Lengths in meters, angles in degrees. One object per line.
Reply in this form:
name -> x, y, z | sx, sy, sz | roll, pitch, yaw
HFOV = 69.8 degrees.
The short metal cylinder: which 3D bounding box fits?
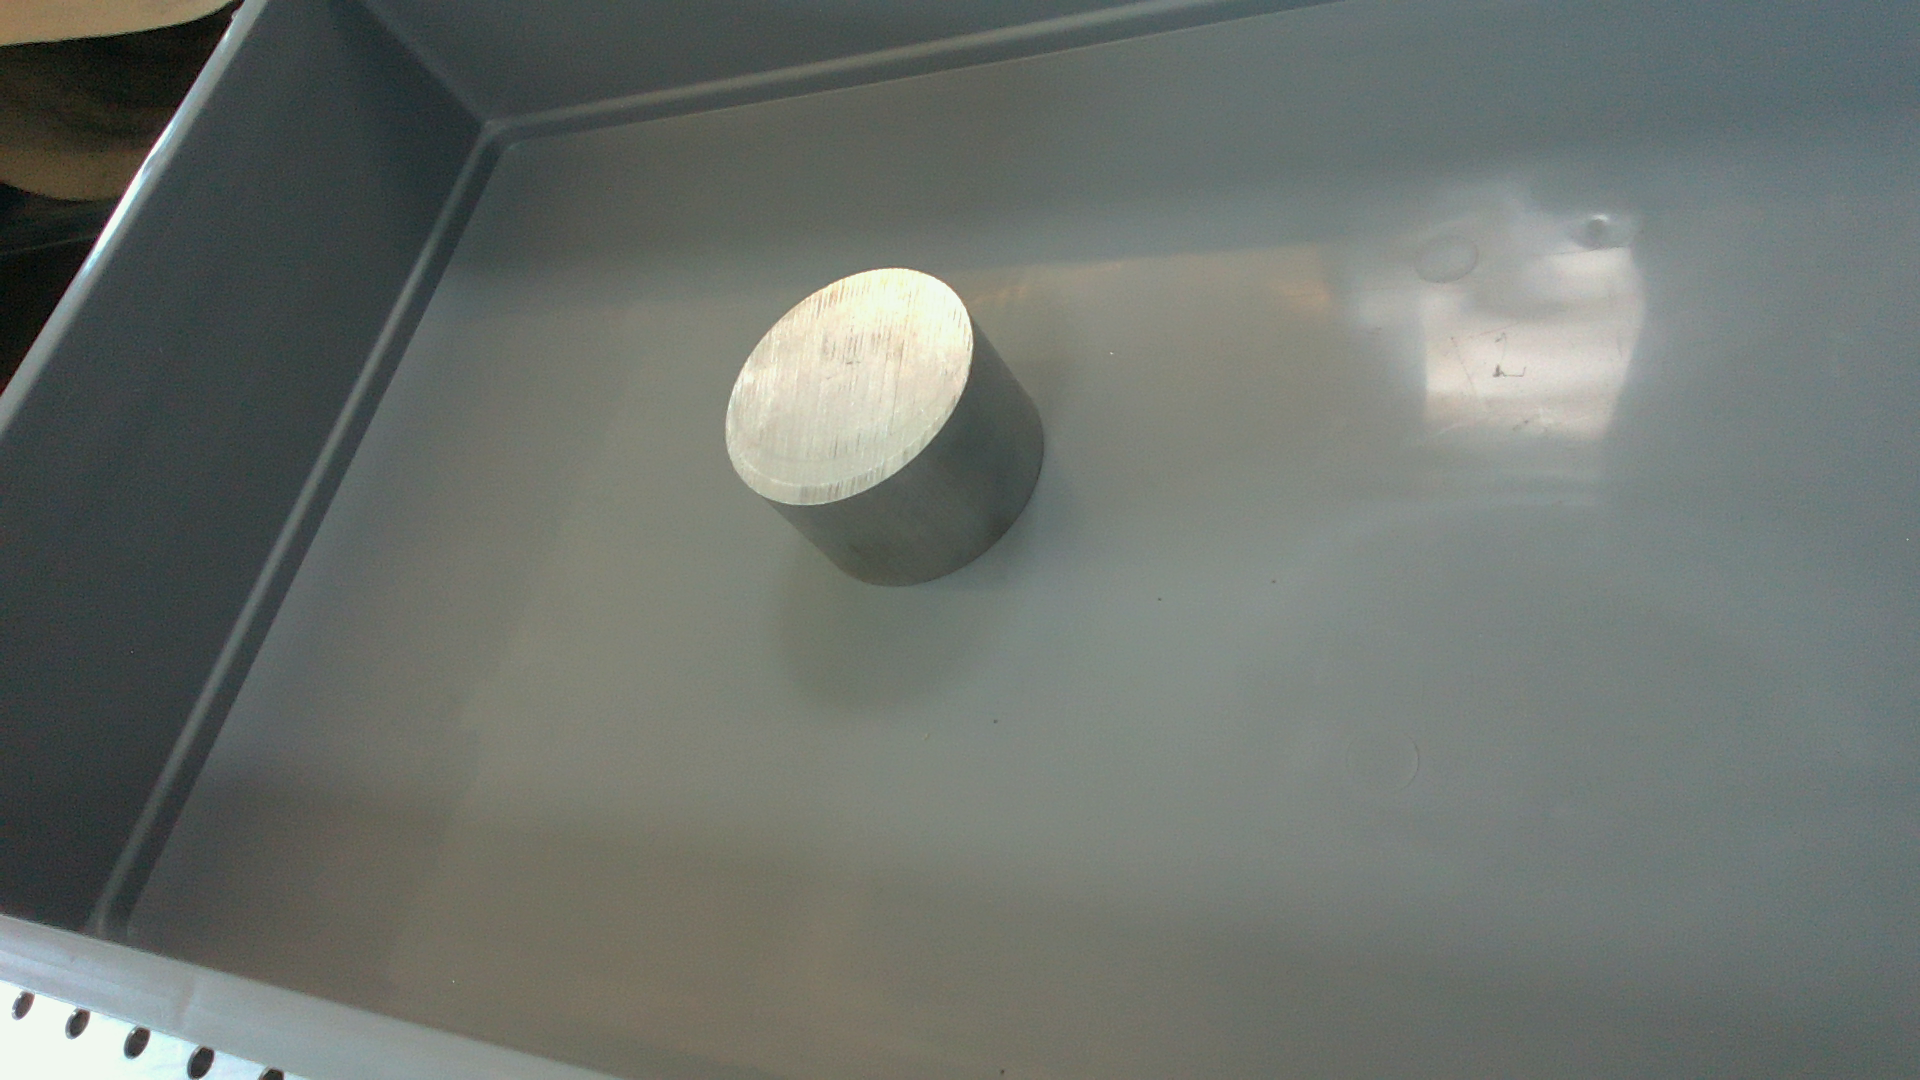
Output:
short metal cylinder -> -0.022, -0.033, 0.408 | 0.080, 0.050, 0.080 | -13, 56, 21
